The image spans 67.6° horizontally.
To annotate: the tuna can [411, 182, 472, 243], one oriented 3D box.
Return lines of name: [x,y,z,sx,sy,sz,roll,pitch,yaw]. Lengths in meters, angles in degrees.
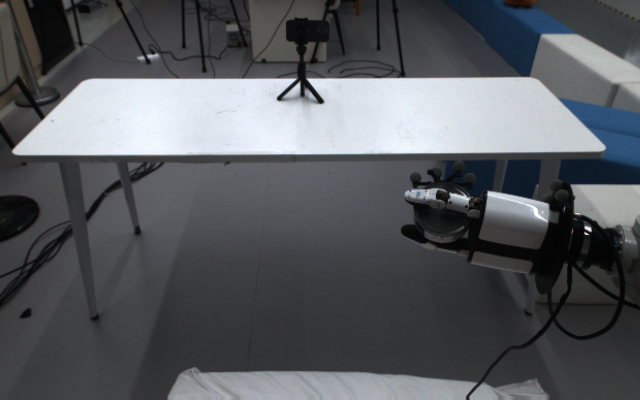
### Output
tuna can: [0.180,0.018,0.710,0.085,0.034,0.085,-4,61,7]
